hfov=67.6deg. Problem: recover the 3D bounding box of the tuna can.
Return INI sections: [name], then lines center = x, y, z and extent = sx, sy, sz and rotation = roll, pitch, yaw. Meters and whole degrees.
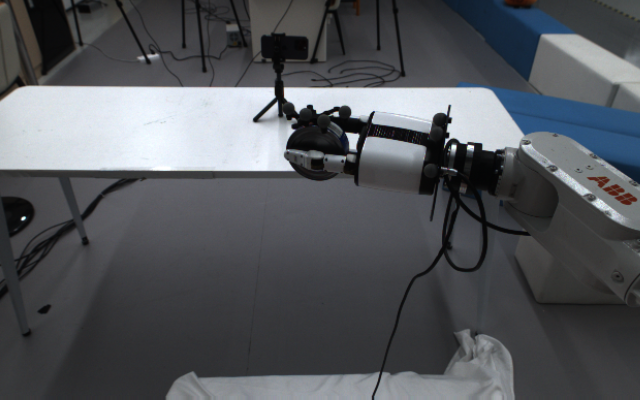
[tuna can]
center = -0.002, -0.073, 0.687
extent = 0.085, 0.085, 0.034
rotation = 11, 34, 12
